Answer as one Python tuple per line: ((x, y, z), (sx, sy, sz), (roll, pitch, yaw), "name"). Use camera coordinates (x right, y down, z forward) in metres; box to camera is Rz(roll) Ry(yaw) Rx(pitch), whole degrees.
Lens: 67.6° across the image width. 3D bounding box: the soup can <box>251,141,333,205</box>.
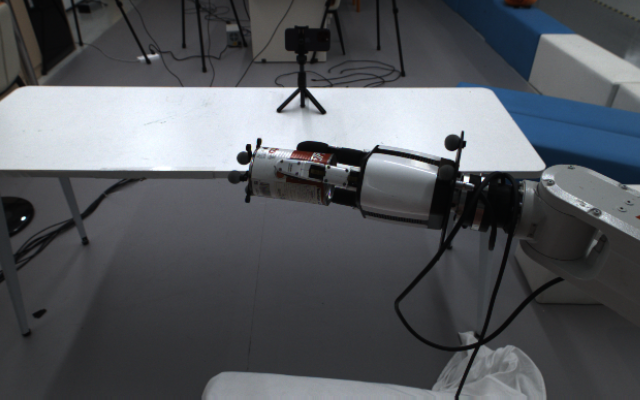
((-0.033, -0.032, 0.632), (0.101, 0.067, 0.067), (7, 35, 11), "soup can")
